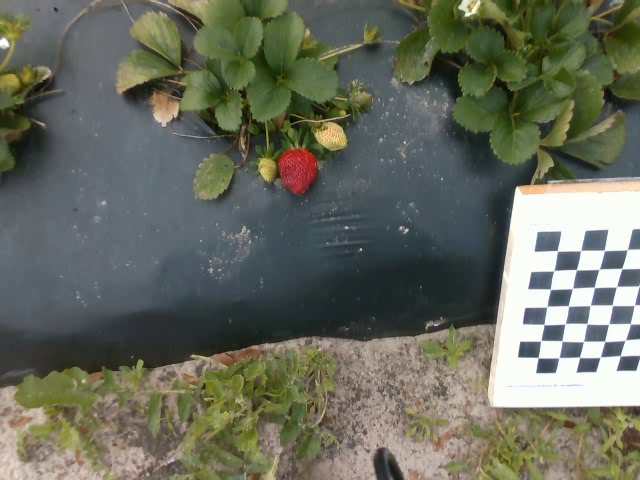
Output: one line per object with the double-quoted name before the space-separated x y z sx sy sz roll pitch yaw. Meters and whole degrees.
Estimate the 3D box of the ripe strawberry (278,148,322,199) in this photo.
"ripe strawberry" -0.023 -0.067 0.559 0.046 0.059 0.046 -6 -39 7
